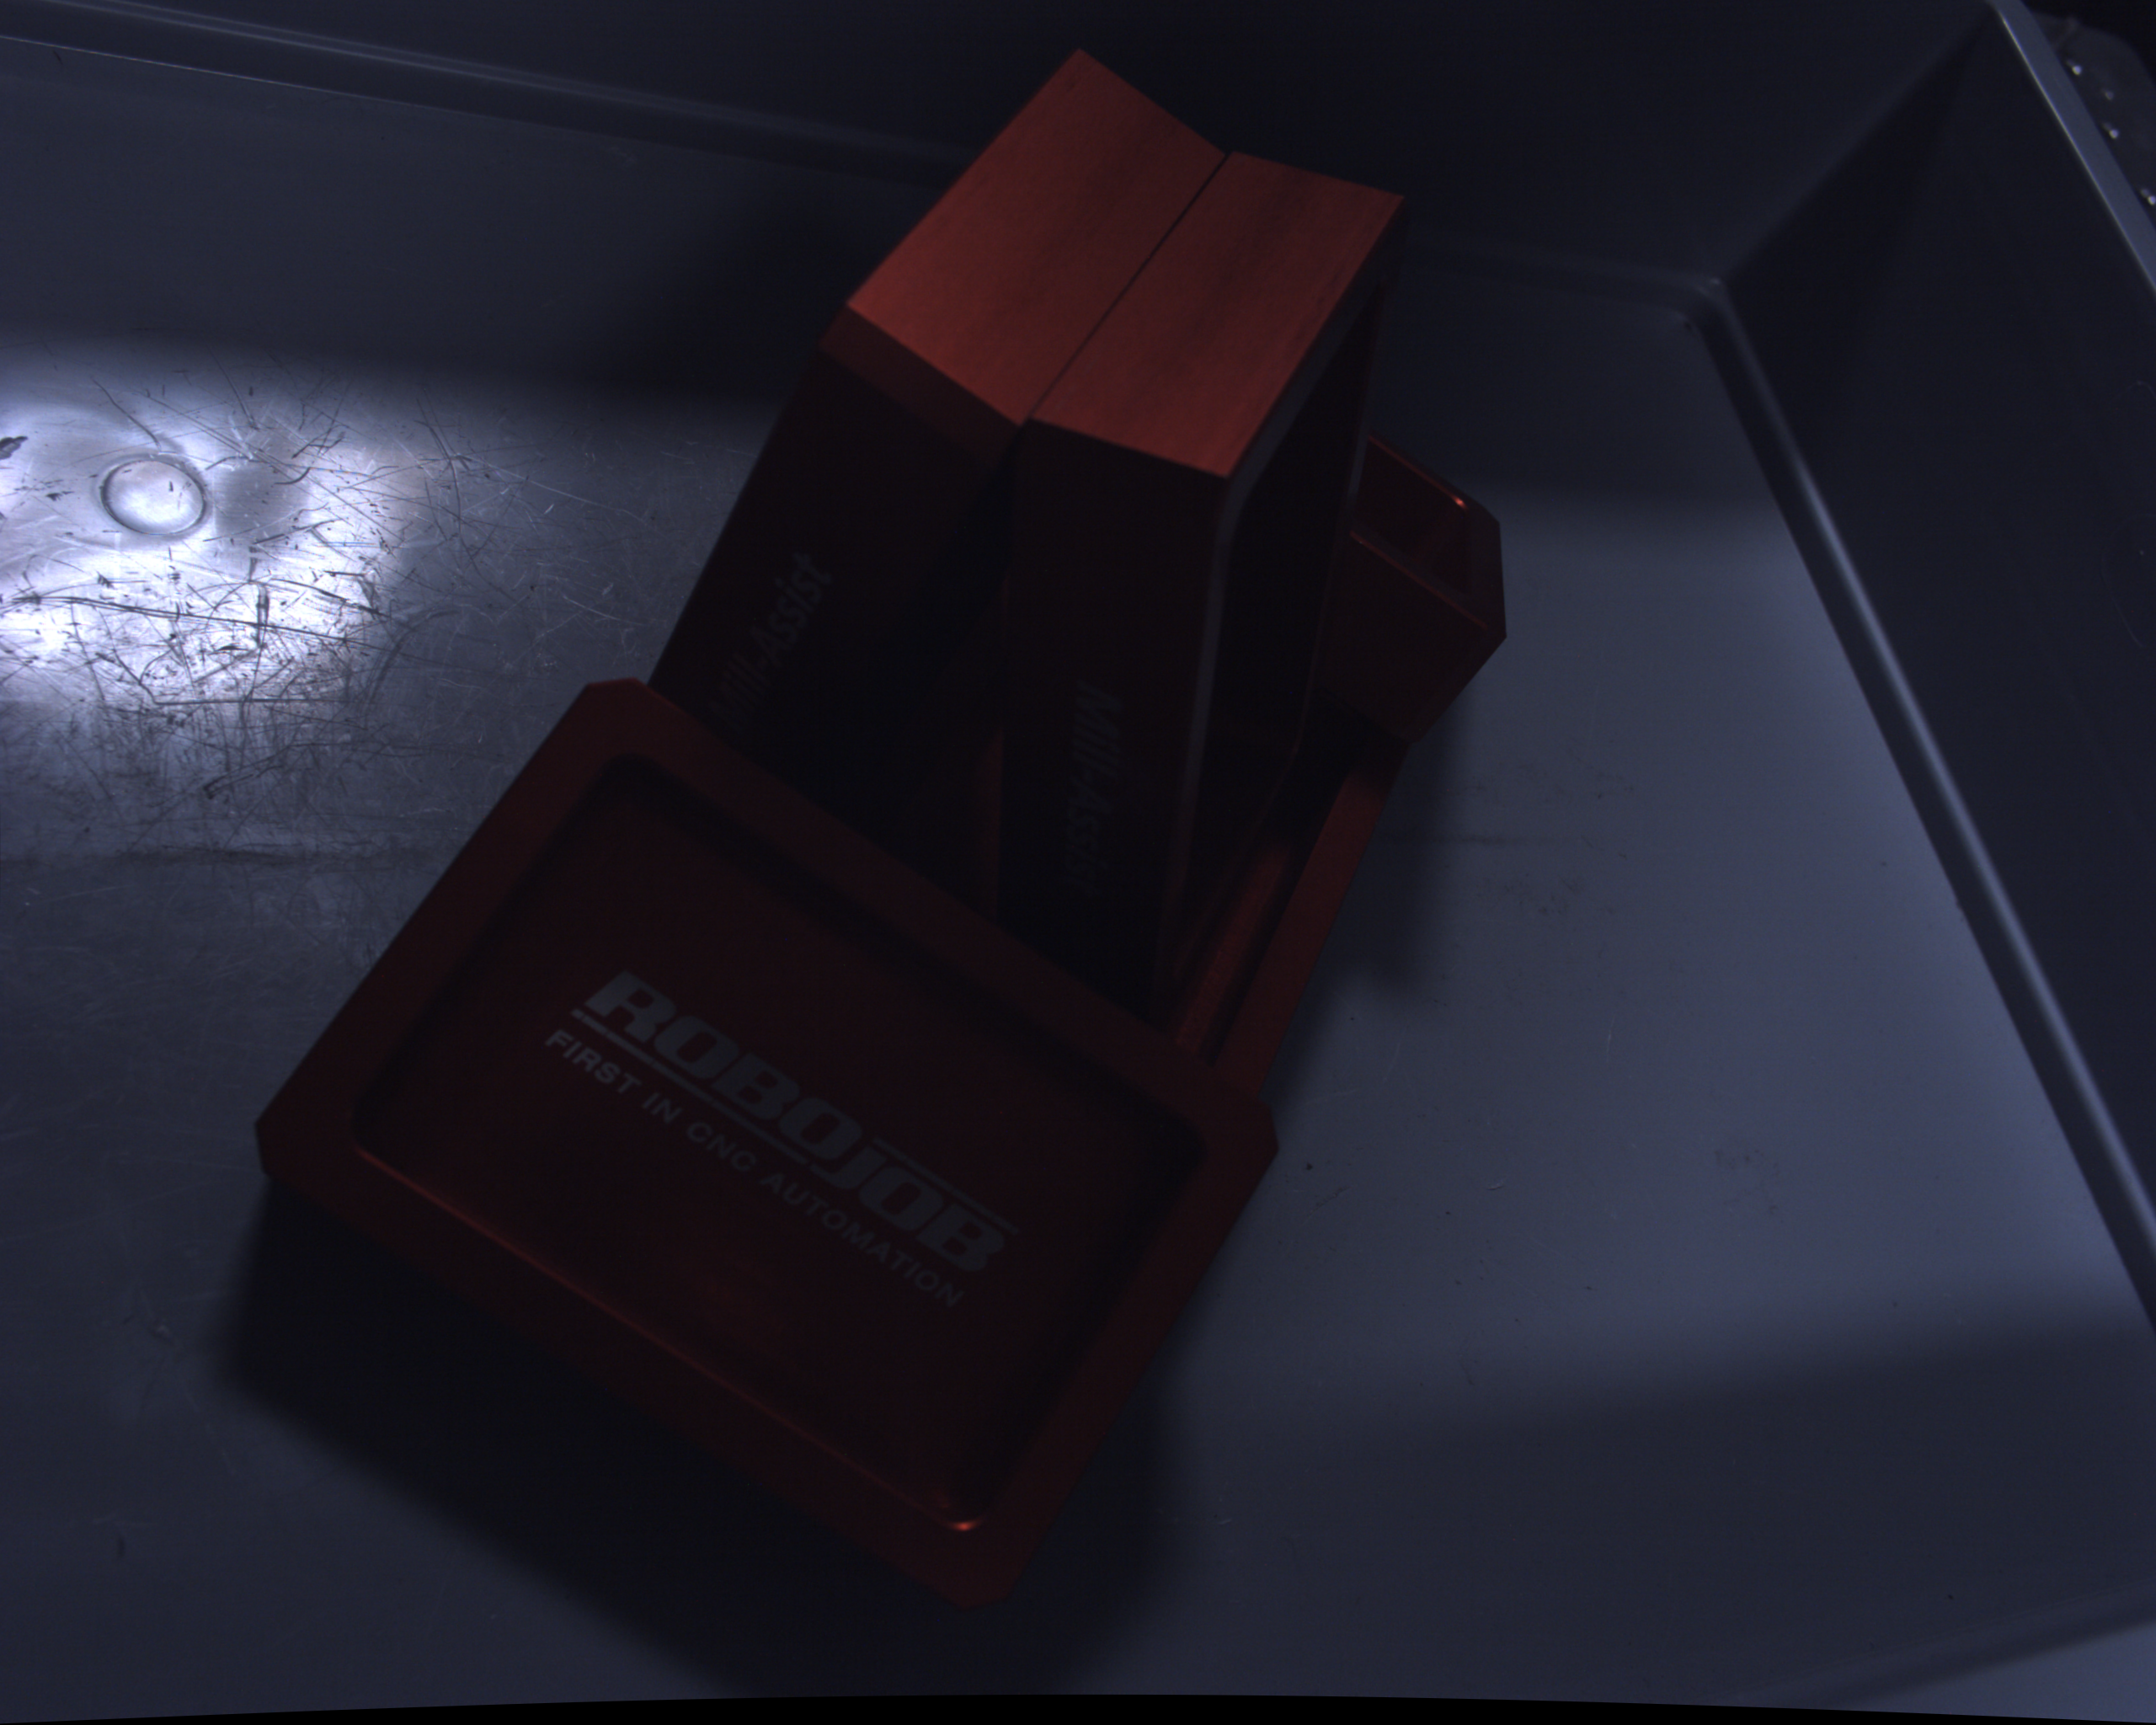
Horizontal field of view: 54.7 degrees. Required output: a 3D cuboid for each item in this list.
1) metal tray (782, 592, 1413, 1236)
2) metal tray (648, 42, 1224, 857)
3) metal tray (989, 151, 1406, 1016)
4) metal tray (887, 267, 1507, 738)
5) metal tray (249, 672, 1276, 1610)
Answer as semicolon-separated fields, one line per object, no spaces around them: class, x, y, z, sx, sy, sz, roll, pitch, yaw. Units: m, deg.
metal tray;0.005;-0.003;0.406;0.090;0.030;0.130;34;51;-6
metal tray;-0.031;-0.065;0.359;0.030;0.129;0.090;34;51;-5
metal tray;0.018;-0.041;0.357;0.030;0.129;0.090;20;50;12
metal tray;0.030;-0.088;0.450;0.130;0.030;0.090;34;26;-6
metal tray;-0.046;0.043;0.328;0.130;0.030;0.090;35;75;-6
